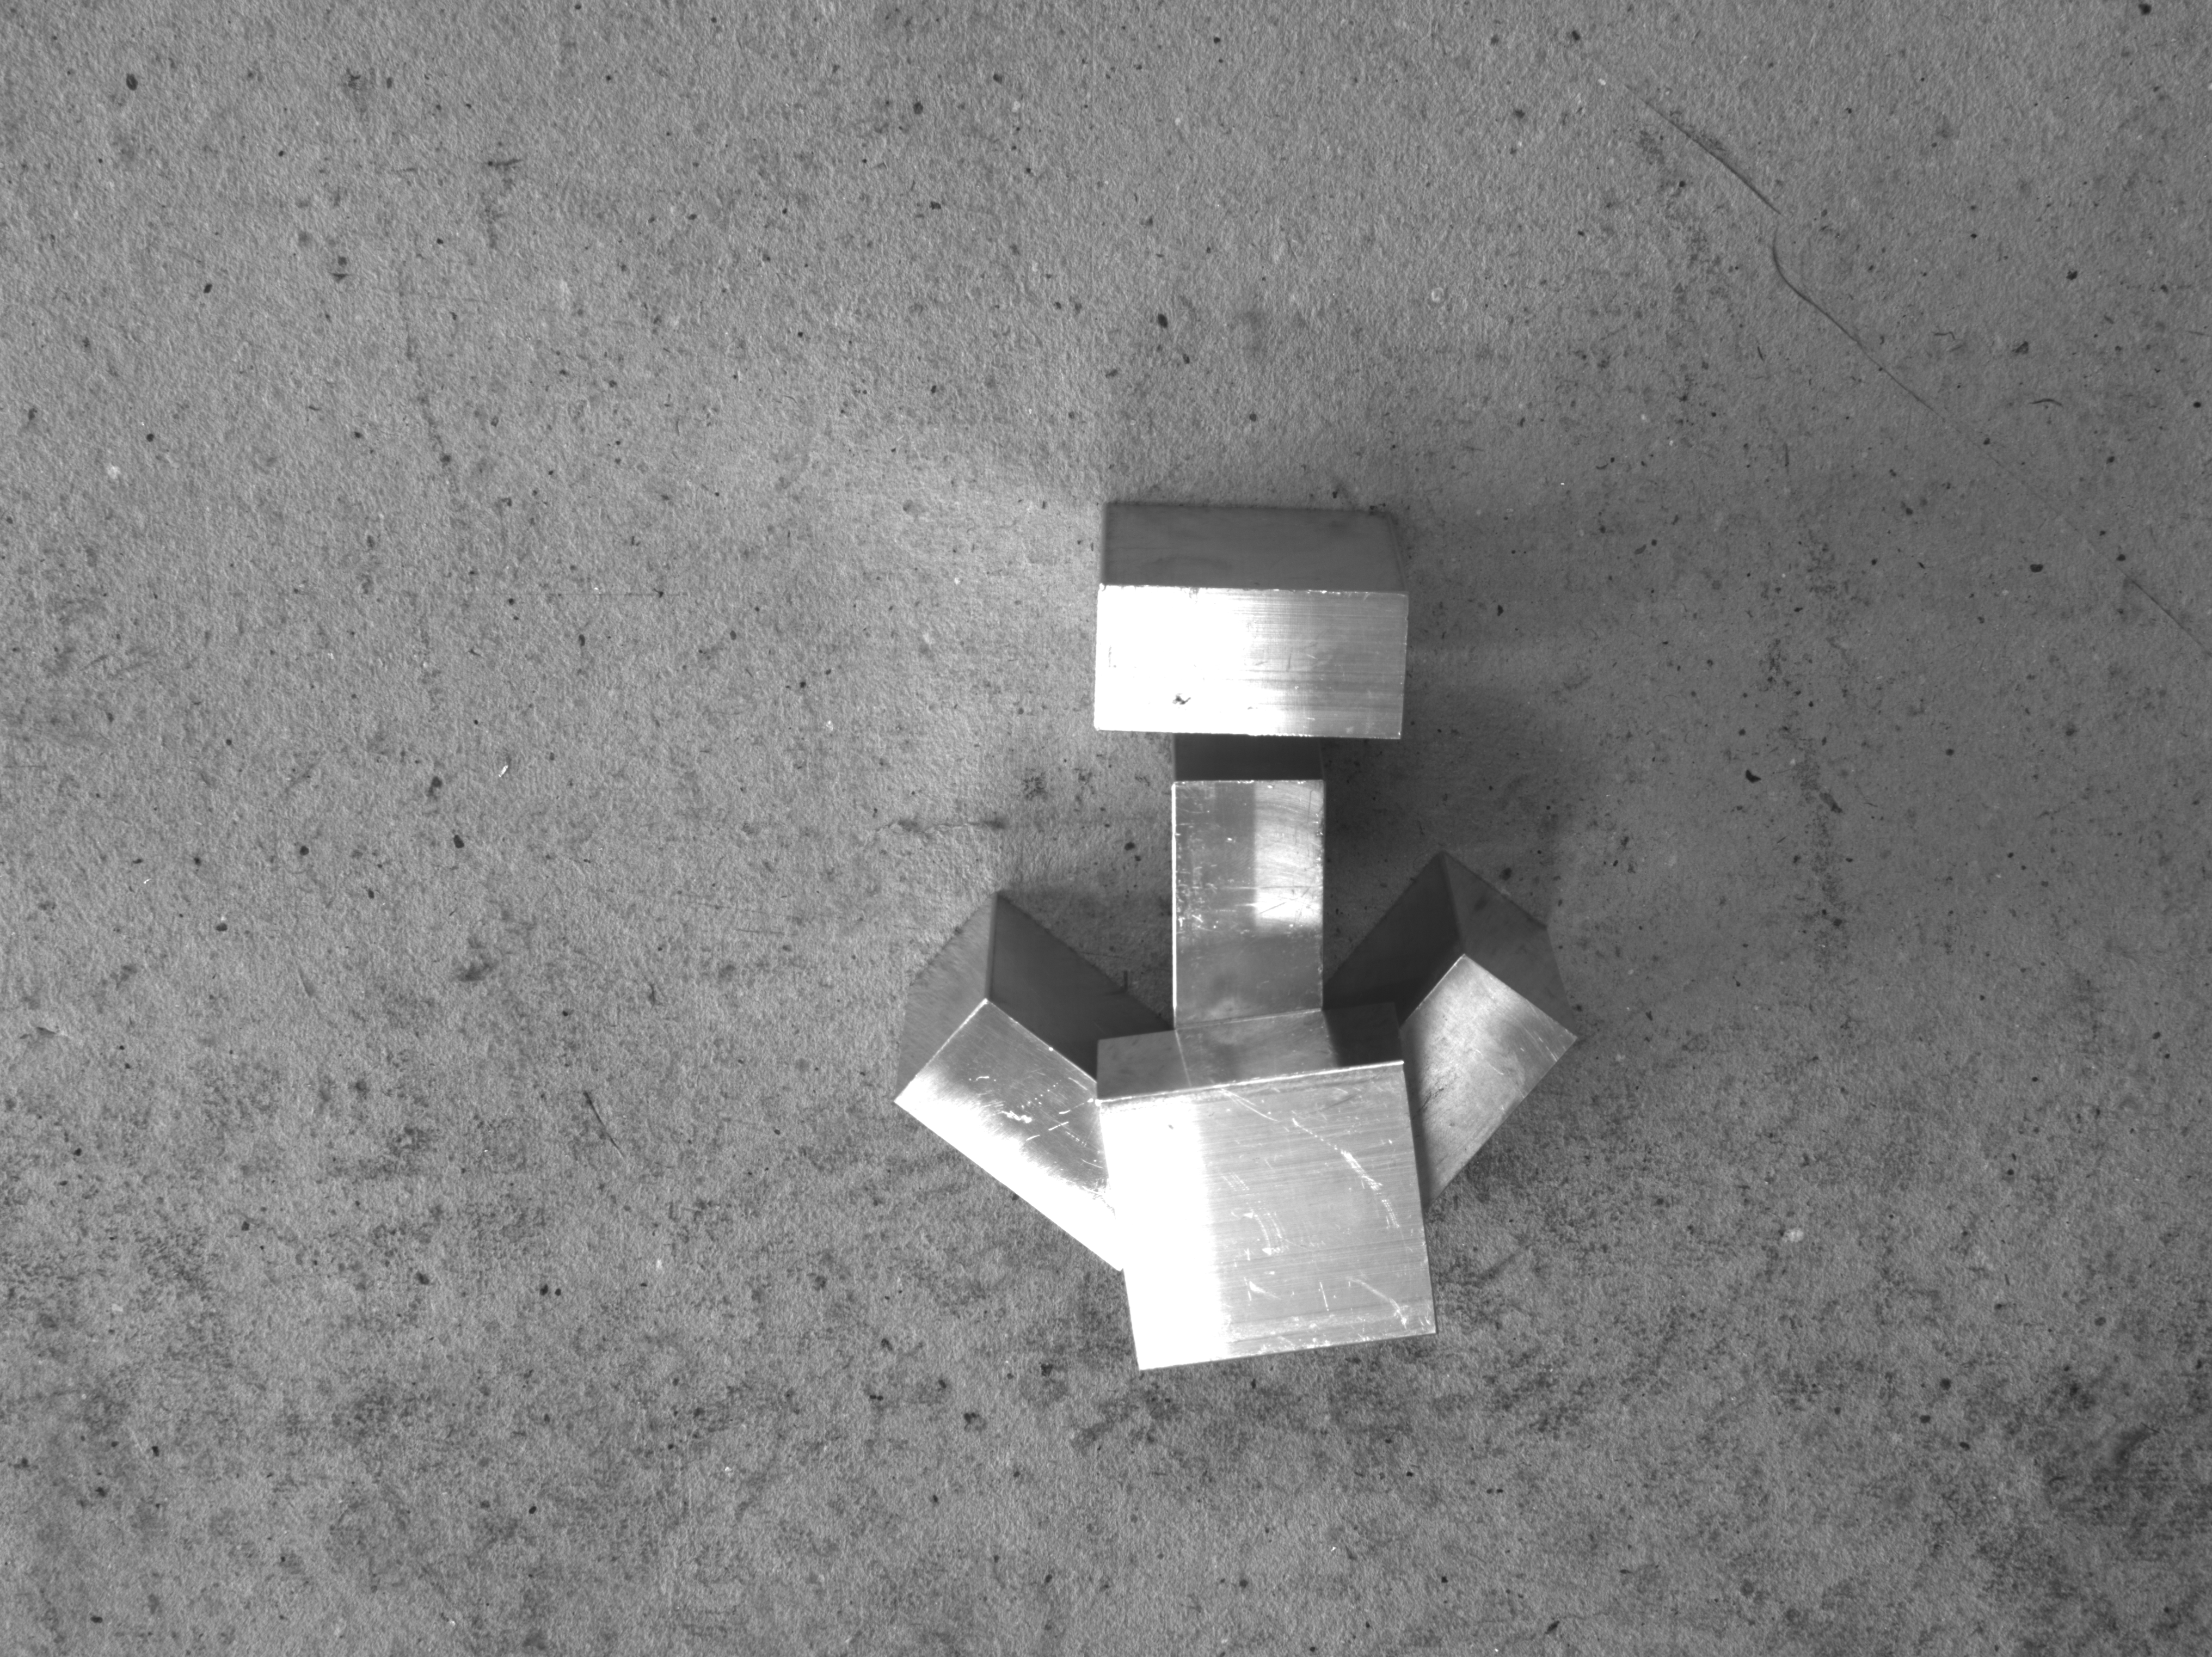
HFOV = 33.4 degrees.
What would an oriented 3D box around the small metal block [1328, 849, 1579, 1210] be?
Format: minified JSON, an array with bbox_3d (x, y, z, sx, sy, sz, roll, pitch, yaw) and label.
[{"bbox_3d":[0.054,0.038,0.645,0.025,0.050,0.050,35,106,-12],"label":"small metal block"}]

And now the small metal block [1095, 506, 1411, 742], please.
[{"bbox_3d":[0.024,-0.035,0.618,0.050,0.050,0.025,2,110,-1],"label":"small metal block"}]

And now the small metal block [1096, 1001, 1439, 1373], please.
[{"bbox_3d":[0.027,0.060,0.613,0.050,0.025,0.050,-7,109,3],"label":"small metal block"}]

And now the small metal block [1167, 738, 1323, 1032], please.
[{"bbox_3d":[0.023,0.007,0.634,0.025,0.050,0.050,-1,109,0],"label":"small metal block"}]

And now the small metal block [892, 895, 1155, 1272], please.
[{"bbox_3d":[-0.009,0.045,0.646,0.050,0.050,0.025,38,105,-14],"label":"small metal block"}]
